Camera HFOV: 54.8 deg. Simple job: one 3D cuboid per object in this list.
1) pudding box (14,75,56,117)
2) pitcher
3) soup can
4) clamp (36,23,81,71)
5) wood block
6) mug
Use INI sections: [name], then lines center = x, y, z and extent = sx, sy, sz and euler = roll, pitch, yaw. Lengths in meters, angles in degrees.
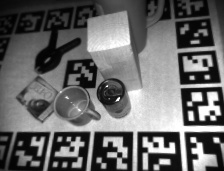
[pudding box]
center = -0.215, 0.026, 0.626
extent = 0.112, 0.039, 0.090
euler = 33, 79, 25
[pitcher]
center = 0.035, -0.206, 0.561
extent = 0.187, 0.245, 0.133
euler = -7, 62, 14
[soup can]
center = 0.005, 0.017, 0.540
extent = 0.067, 0.103, 0.067
euler = -5, 67, 12
[clamp]
center = -0.190, -0.119, 0.694
extent = 0.121, 0.037, 0.165
euler = 26, 74, 15
[wood block]
center = 0.012, -0.087, 0.528
extent = 0.089, 0.208, 0.090
euler = -6, 64, 7
[mug]
center = -0.083, 0.047, 0.558
extent = 0.116, 0.082, 0.093
euler = 31, 73, 25
